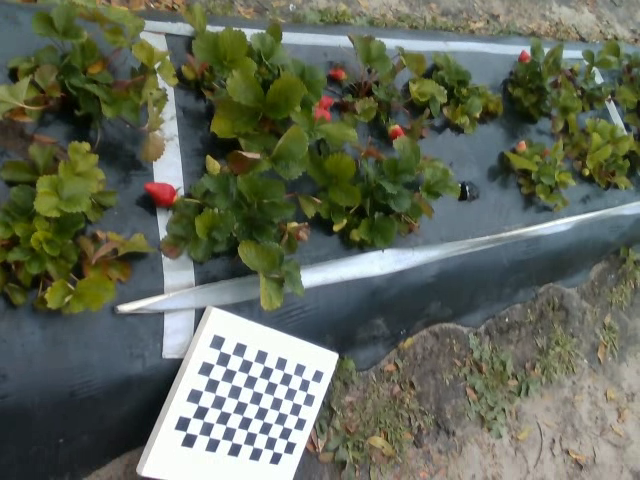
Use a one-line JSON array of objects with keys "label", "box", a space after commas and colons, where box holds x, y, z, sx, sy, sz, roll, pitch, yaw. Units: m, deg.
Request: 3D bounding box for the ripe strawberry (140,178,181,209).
[{"label": "ripe strawberry", "box": [-0.238, -0.074, 0.796, 0.051, 0.042, 0.037, 23, -5, -36]}]
